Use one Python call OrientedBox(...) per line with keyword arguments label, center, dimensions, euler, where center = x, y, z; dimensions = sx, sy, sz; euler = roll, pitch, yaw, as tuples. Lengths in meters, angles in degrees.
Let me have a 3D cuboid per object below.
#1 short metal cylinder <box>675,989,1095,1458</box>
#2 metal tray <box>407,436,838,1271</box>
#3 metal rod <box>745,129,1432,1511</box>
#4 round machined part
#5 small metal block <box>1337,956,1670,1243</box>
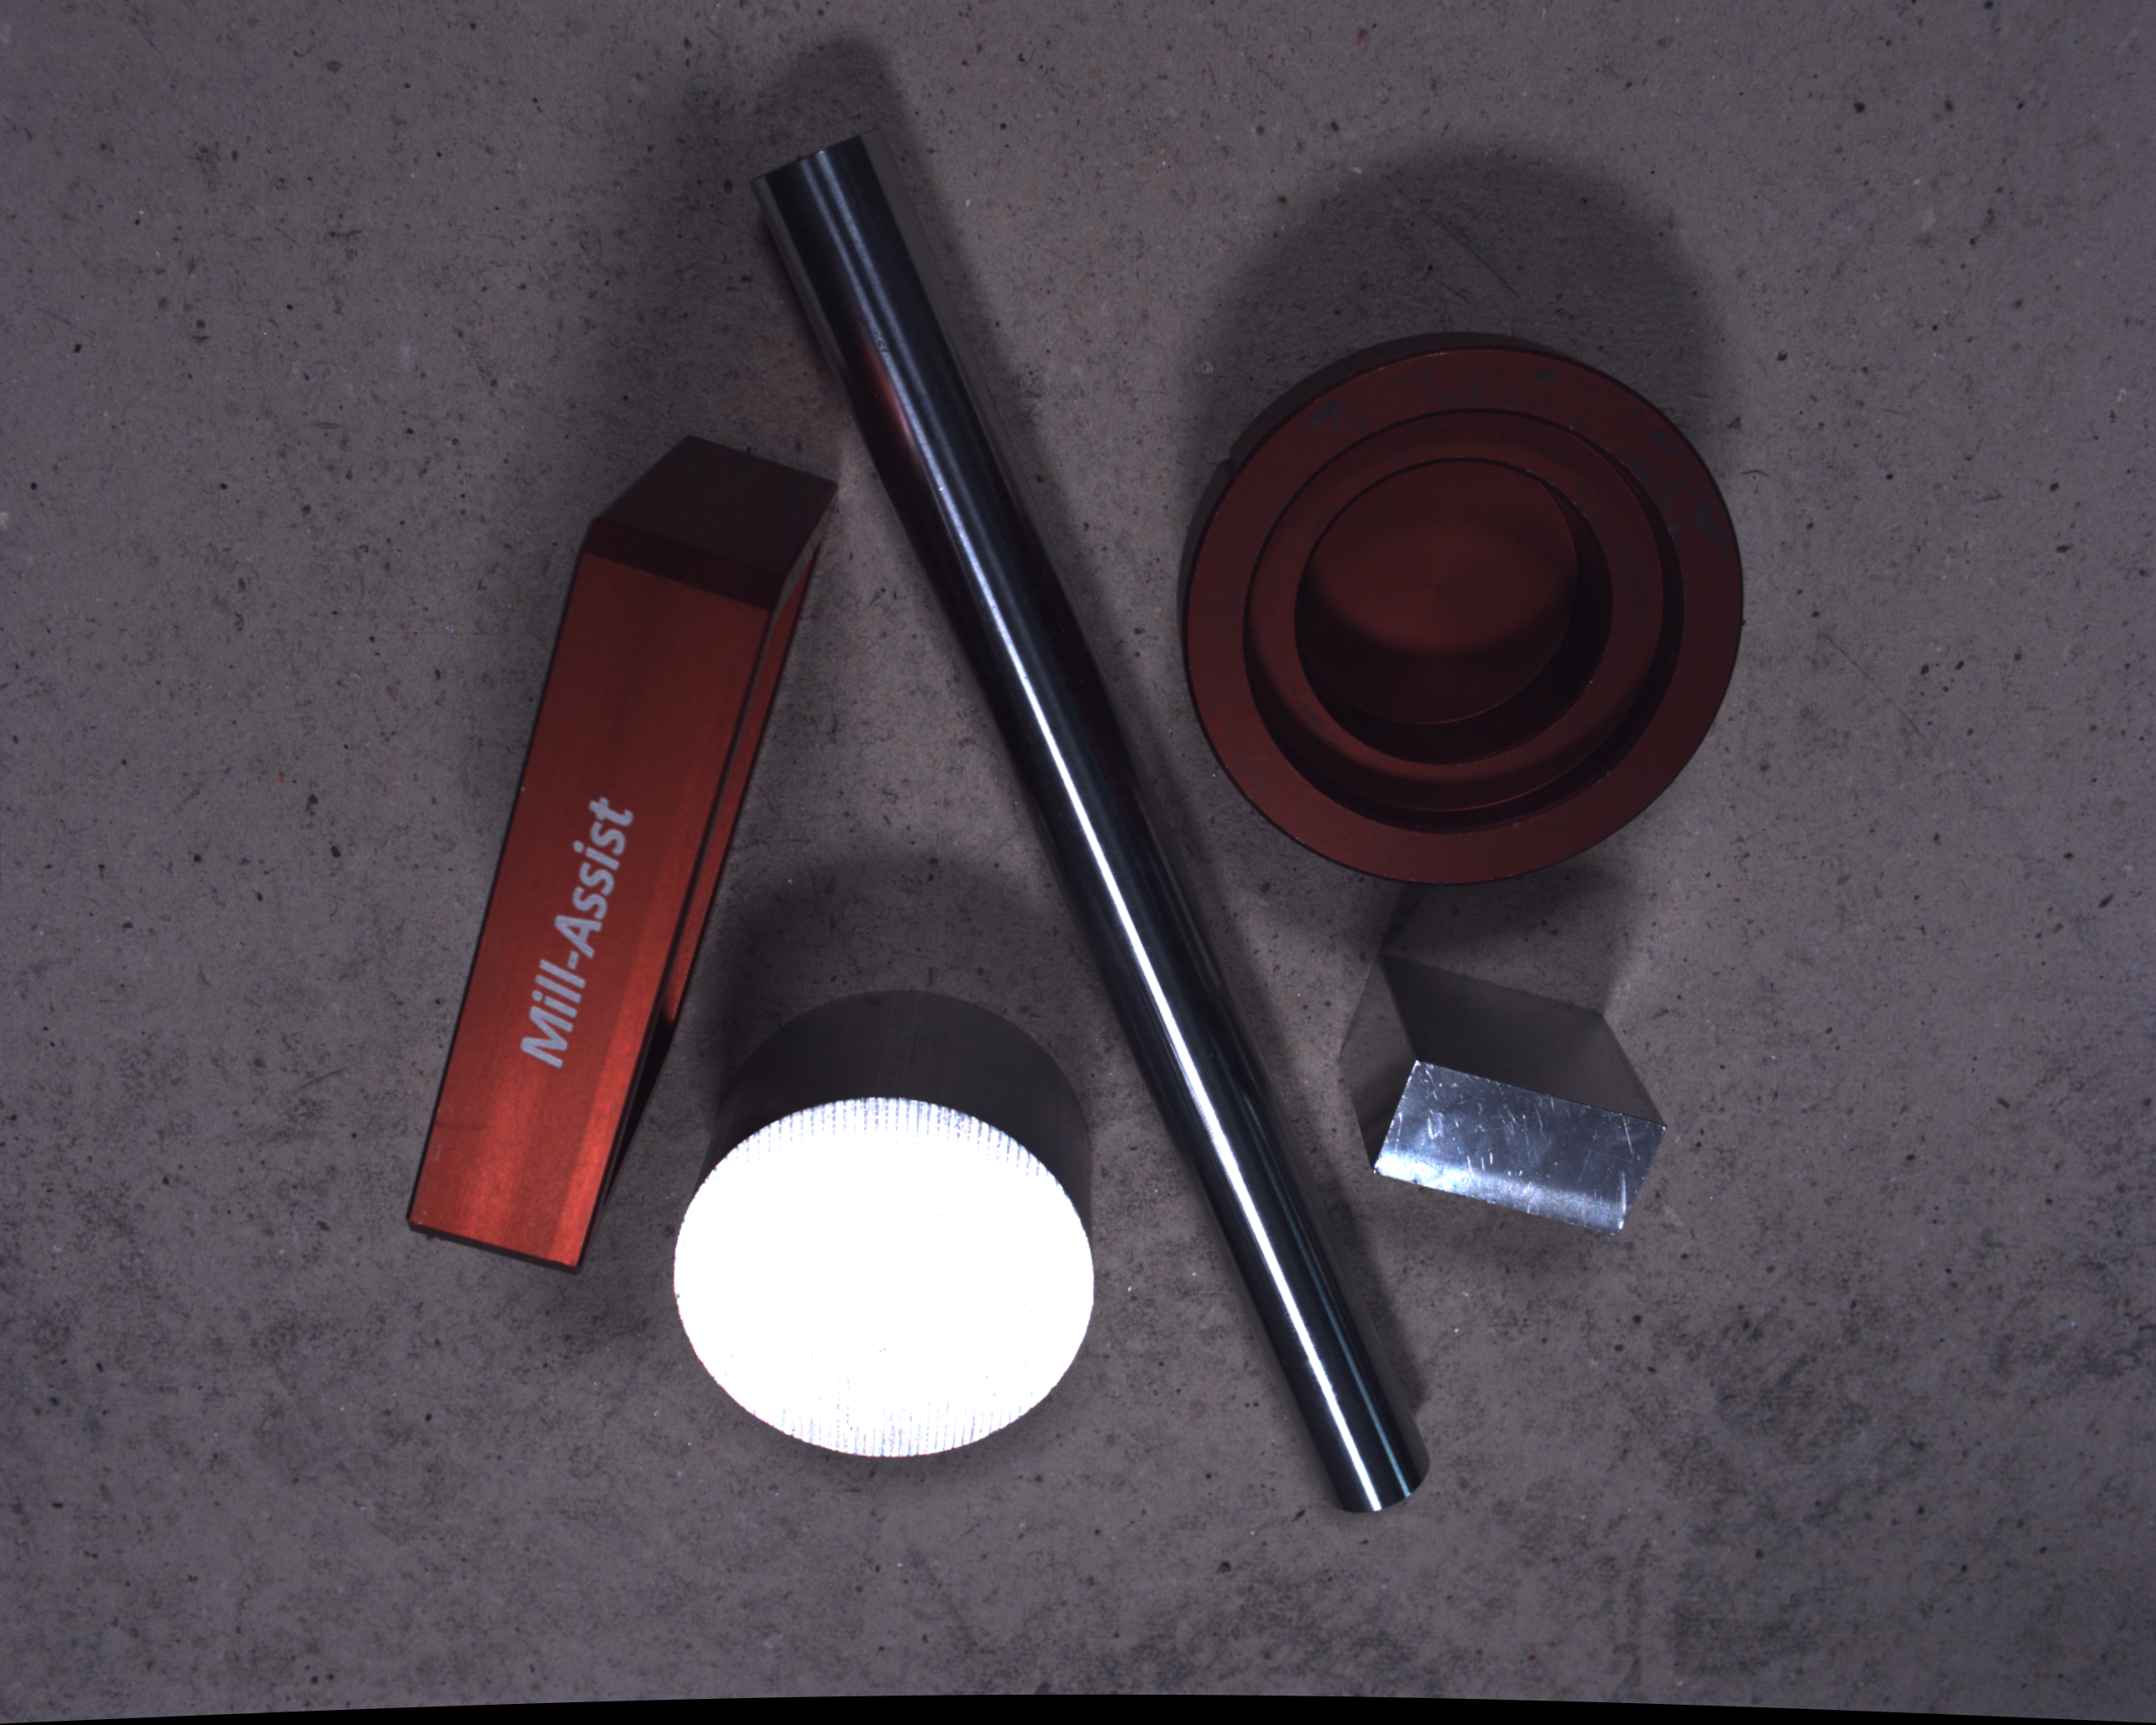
OrientedBox(label="short metal cylinder", center=(-0.037, 0.072, 0.424), dimensions=(0.081, 0.050, 0.079), euler=(0, 110, -1))
OrientedBox(label="metal tray", center=(-0.080, -0.004, 0.374), dimensions=(0.030, 0.090, 0.129), euler=(17, 109, -7))
OrientedBox(label="metal rod", center=(0.010, 0.006, 0.414), dimensions=(0.025, 0.025, 0.299), euler=(-21, 109, 7))
OrientedBox(label="round machined part", center=(0.067, -0.048, 0.385), dimensions=(0.099, 0.042, 0.097), euler=(0, 110, -1))
OrientedBox(label="small metal block", center=(0.082, 0.046, 0.413), dimensions=(0.050, 0.050, 0.025), euler=(16, 109, -6))
